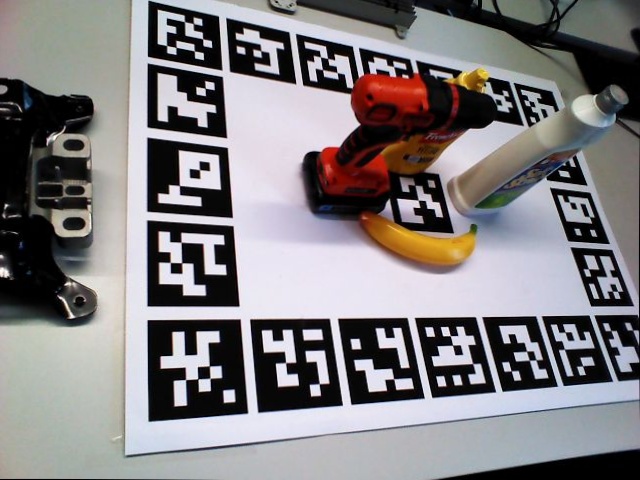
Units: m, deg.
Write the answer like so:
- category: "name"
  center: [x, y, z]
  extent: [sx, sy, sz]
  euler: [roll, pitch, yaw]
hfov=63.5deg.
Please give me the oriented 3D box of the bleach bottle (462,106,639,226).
- category: "bleach bottle"
  center: [0.316, -0.099, 0.712]
  extent: [0.102, 0.252, 0.067]
  euler: [-6, 71, -28]

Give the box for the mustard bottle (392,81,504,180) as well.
- category: "mustard bottle"
  center: [0.183, -0.151, 0.698]
  extent: [0.096, 0.193, 0.058]
  euler: [4, 65, -26]

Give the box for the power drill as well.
- category: "power drill"
  center: [0.106, -0.107, 0.618]
  extent: [0.184, 0.188, 0.057]
  euler: [1, 60, -28]

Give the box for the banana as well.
- category: "banana"
  center: [0.175, 0.010, 0.709]
  extent: [0.197, 0.039, 0.074]
  euler: [5, 69, -22]
